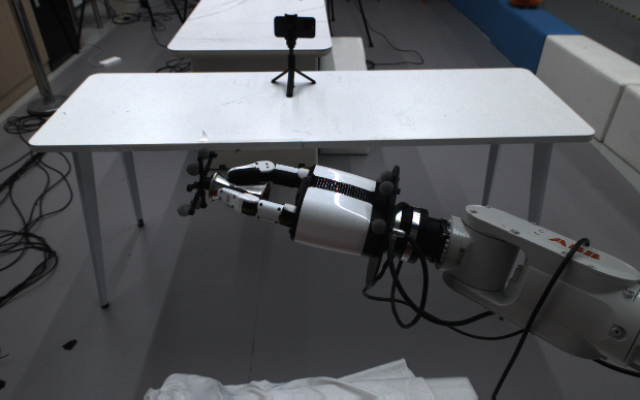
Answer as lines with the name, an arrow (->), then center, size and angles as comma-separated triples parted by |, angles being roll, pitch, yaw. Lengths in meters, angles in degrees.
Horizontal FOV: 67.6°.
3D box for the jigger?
jigger -> -0.096, -0.011, 0.617 | 0.071, 0.043, 0.043 | 14, 36, 5
